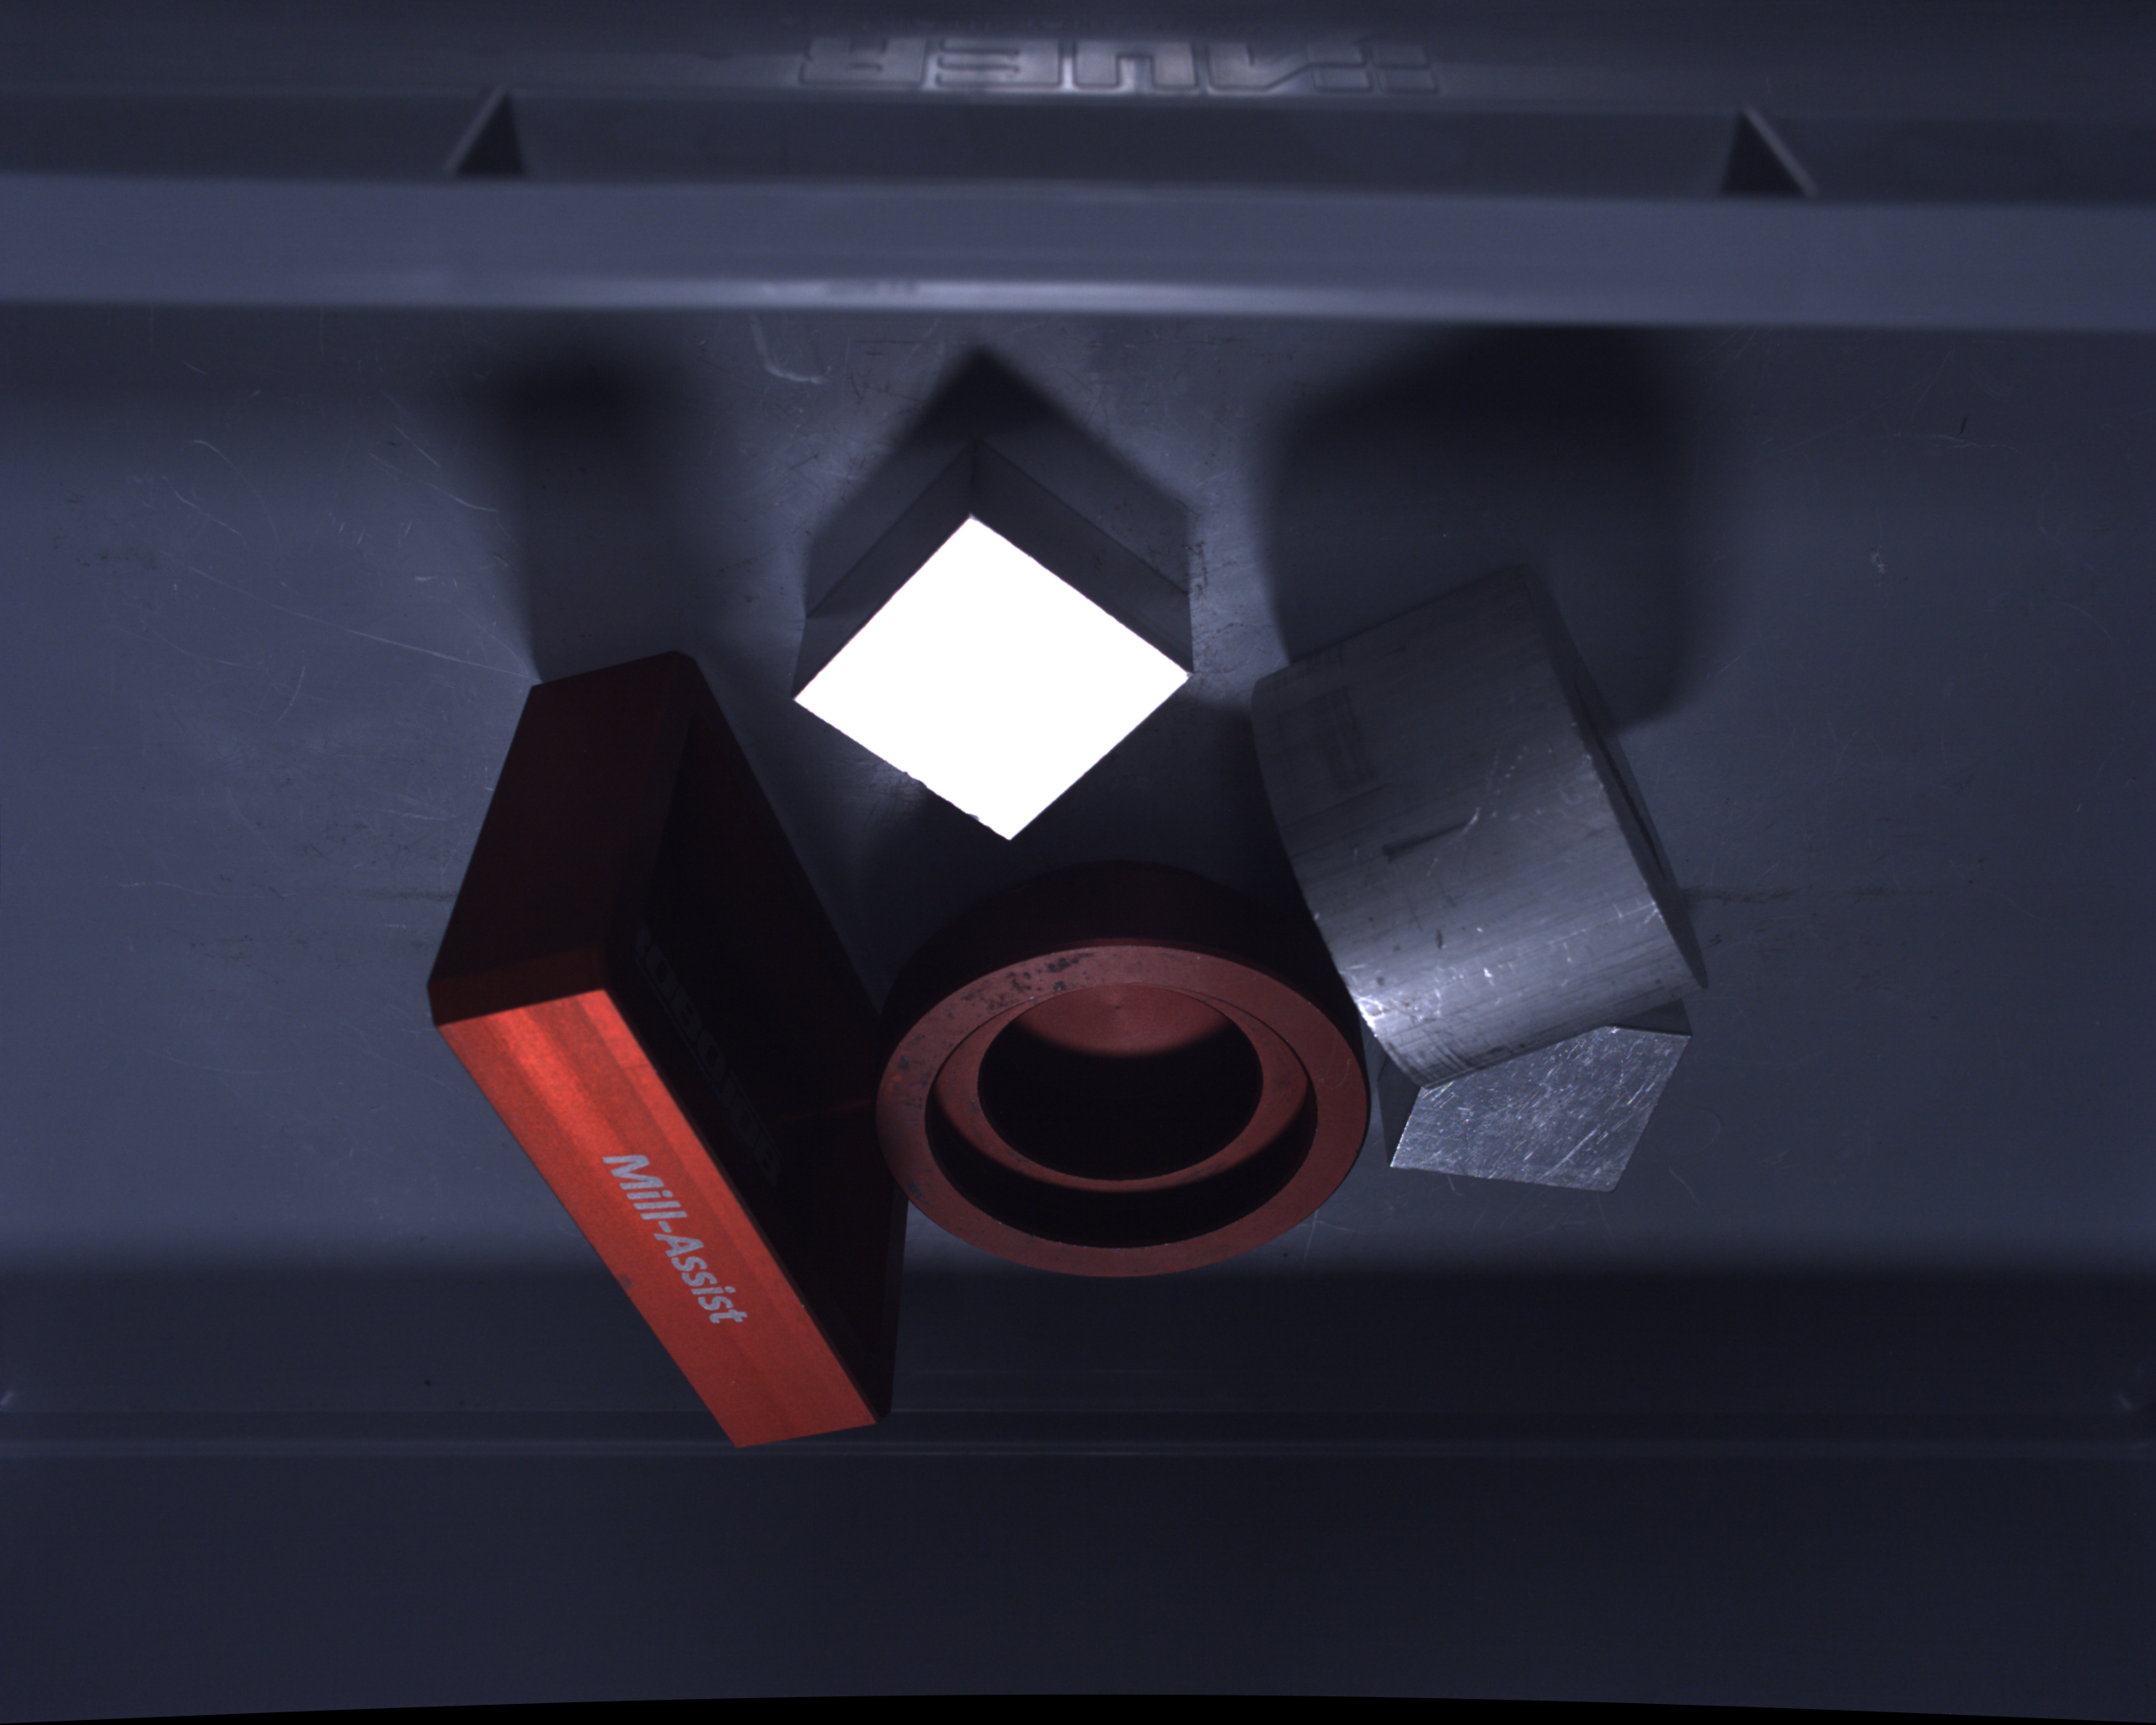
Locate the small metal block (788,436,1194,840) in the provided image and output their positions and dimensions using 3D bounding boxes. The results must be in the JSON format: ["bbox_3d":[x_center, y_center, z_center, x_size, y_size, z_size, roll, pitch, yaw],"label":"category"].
[{"bbox_3d":[-0.015,-0.039,0.373,0.050,0.025,0.050,34,123,-24],"label":"small metal block"}]

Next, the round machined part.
[{"bbox_3d":[0.008,0.038,0.427,0.099,0.042,0.097,-1,130,0],"label":"round machined part"}]

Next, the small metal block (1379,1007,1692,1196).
[{"bbox_3d":[0.095,0.042,0.444,0.050,0.025,0.050,8,129,-6],"label":"small metal block"}]

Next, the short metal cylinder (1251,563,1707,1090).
[{"bbox_3d":[0.071,-0.006,0.367,0.050,0.080,0.080,-23,127,18],"label":"short metal cylinder"}]

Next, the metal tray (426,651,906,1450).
[{"bbox_3d":[-0.069,0.037,0.395,0.030,0.090,0.129,-13,129,11],"label":"metal tray"}]
